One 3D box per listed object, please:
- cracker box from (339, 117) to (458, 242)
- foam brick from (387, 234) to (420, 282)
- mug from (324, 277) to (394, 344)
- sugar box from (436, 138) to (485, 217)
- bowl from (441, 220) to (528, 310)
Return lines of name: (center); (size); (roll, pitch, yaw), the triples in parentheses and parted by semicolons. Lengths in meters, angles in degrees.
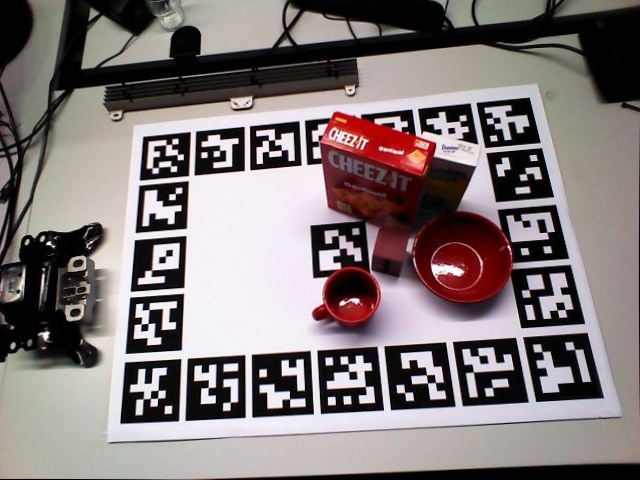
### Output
cracker box: (0.117, -0.087, 0.842); (0.165, 0.214, 0.071); (24, 70, 14)
foam brick: (0.144, 0.032, 0.869); (0.053, 0.078, 0.051); (10, 69, 10)
mug: (0.065, 0.120, 0.832); (0.117, 0.081, 0.093); (-13, 59, 3)
sugar box: (0.229, -0.101, 0.854); (0.093, 0.177, 0.045); (16, 70, 12)
bowl: (0.267, 0.050, 0.845); (0.162, 0.055, 0.161); (-2, 69, 5)
